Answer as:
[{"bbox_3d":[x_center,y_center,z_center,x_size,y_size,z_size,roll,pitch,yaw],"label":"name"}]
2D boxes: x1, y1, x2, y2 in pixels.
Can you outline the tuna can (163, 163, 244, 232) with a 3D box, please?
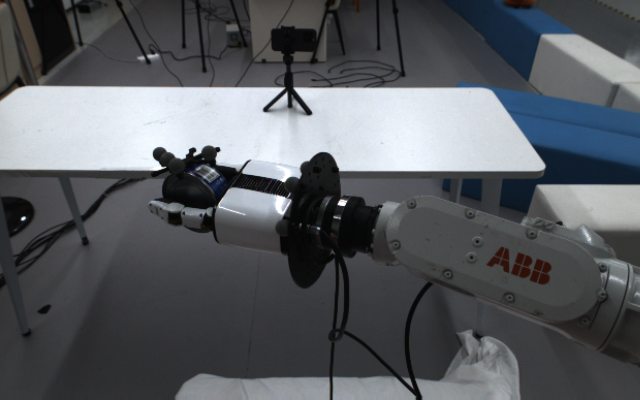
[{"bbox_3d":[-0.149,-0.004,0.604,0.085,0.085,0.034,17,36,20],"label":"tuna can"}]
